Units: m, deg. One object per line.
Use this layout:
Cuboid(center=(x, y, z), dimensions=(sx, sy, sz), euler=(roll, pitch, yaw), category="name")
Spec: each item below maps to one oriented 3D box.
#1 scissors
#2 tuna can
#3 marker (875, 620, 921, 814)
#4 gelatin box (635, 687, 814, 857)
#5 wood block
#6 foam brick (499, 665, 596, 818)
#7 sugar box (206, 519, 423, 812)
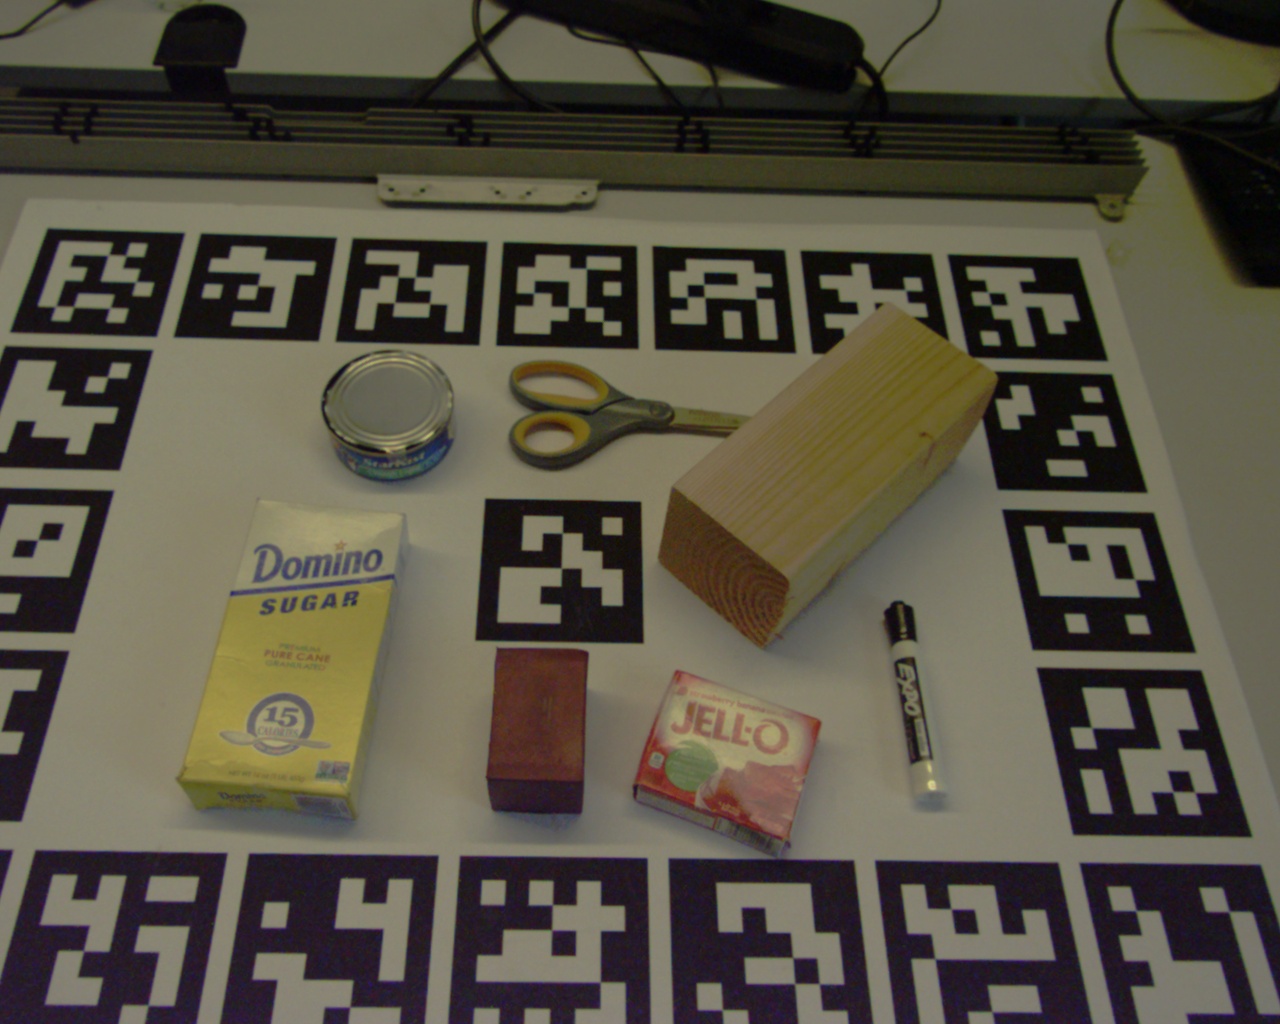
Cuboid(center=(0.005, -0.049, 0.807), dimensions=(0.203, 0.016, 0.088), euler=(7, 59, 5), category="scissors")
Cuboid(center=(-0.167, -0.053, 0.789), dimensions=(0.085, 0.033, 0.086), euler=(1, 60, -2), category="tuna can")
Cuboid(center=(0.159, 0.124, 0.705), dimensions=(0.019, 0.019, 0.121), euler=(3, 61, -1), category="marker")
Cuboid(center=(0.050, 0.154, 0.679), dimensions=(0.090, 0.030, 0.073), euler=(18, 61, 8), category="gelatin box")
Cuboid(center=(0.124, -0.009, 0.748), dimensions=(0.091, 0.091, 0.205), euler=(40, 65, 20), category="wood block")
Cuboid(center=(-0.052, 0.135, 0.670), dimensions=(0.053, 0.051, 0.078), euler=(3, 60, -1), category="foam brick")
Cuboid(center=(-0.194, 0.091, 0.700), dimensions=(0.093, 0.045, 0.177), euler=(6, 59, 0), category="sugar box")
